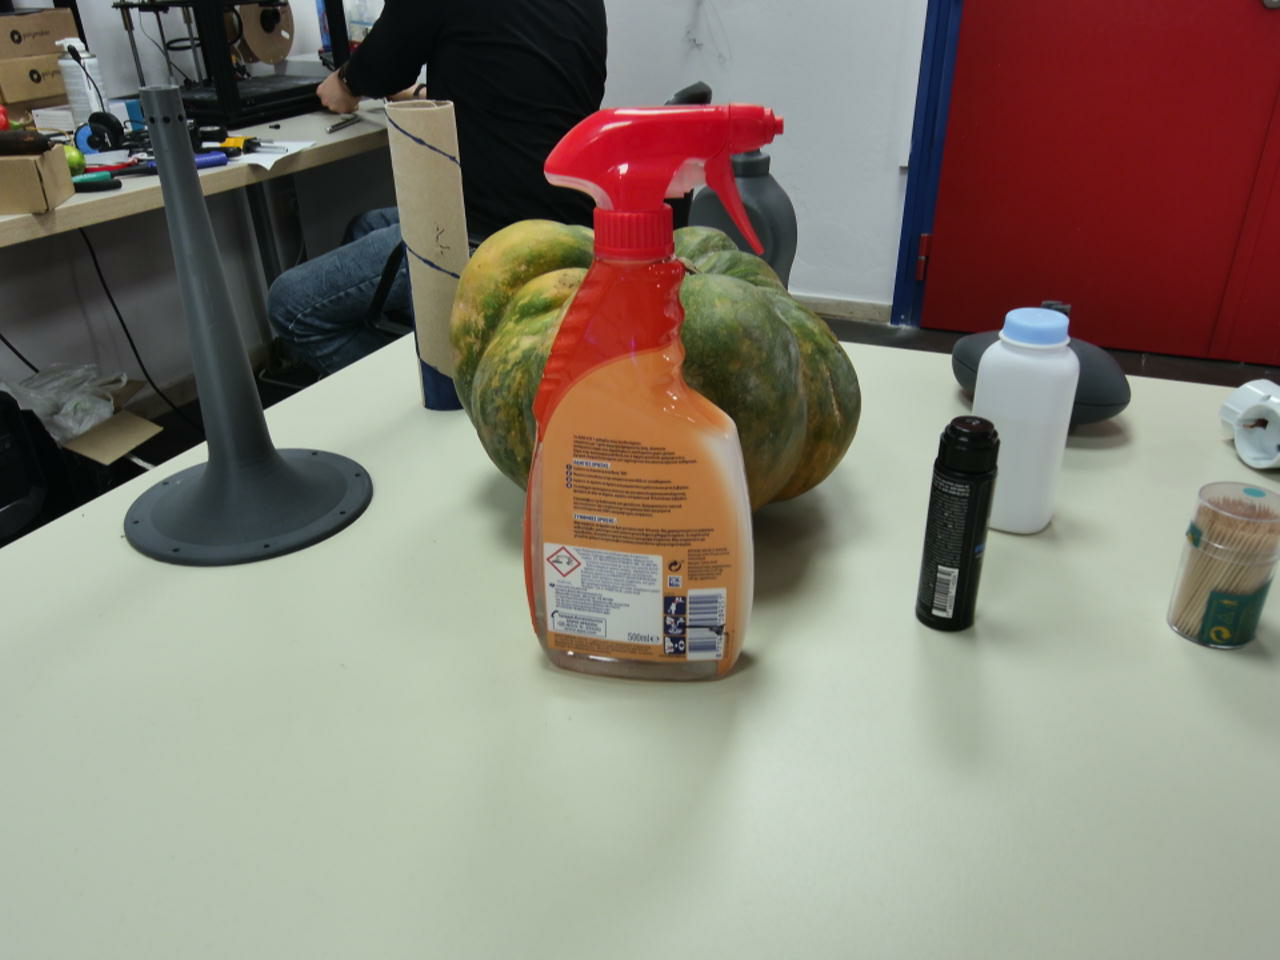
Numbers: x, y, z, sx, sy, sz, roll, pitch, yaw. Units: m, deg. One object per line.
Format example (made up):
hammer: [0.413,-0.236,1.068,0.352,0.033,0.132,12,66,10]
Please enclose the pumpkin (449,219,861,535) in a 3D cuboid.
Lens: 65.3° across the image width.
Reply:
pumpkin: [0.008,-0.071,0.622,0.237,0.173,0.270,-13,29,-26]
